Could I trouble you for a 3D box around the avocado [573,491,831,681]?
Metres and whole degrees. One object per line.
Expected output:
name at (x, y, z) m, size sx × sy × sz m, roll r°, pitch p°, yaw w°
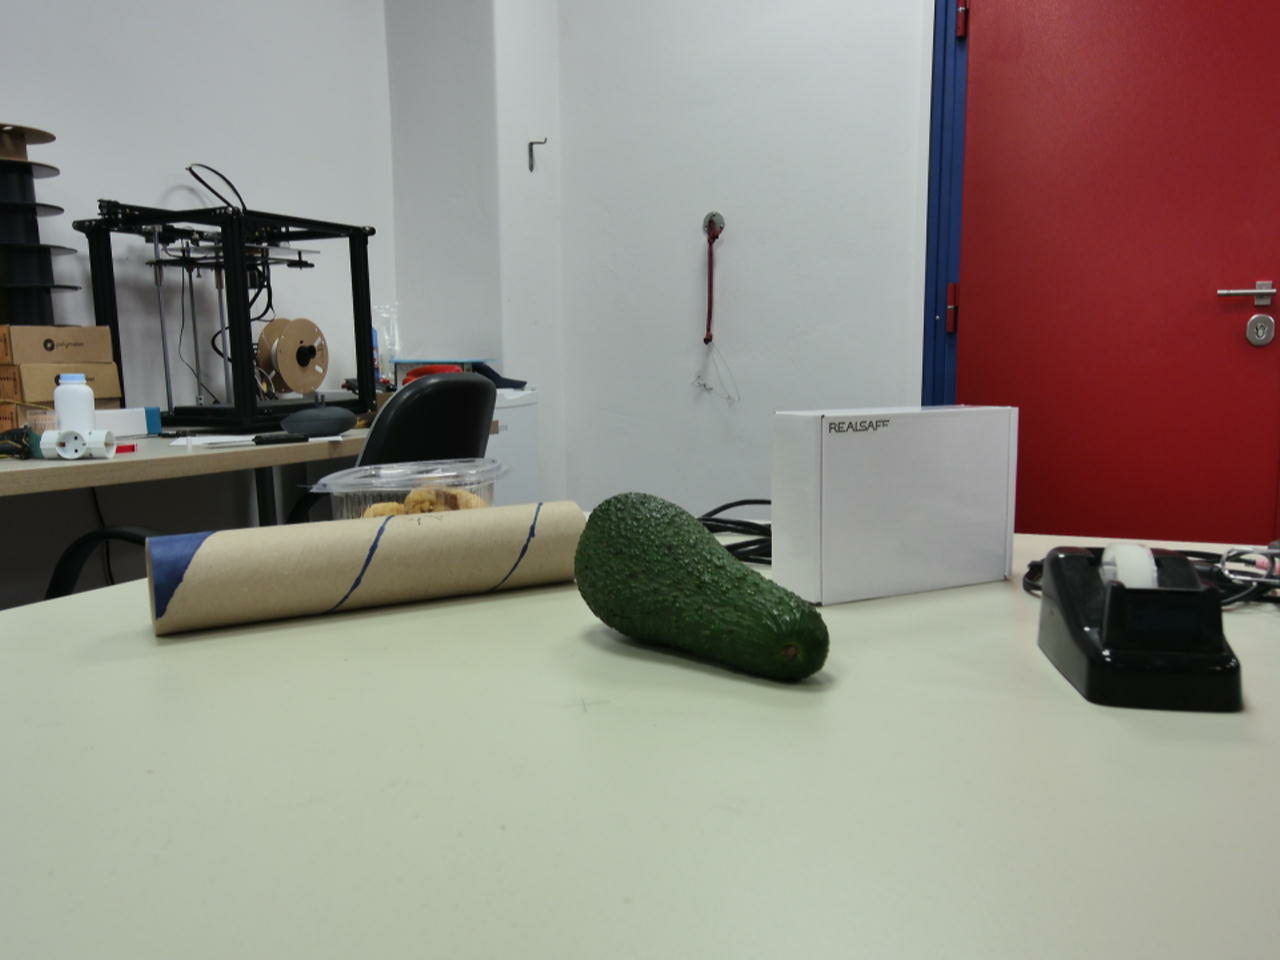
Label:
avocado at (0.027, 0.041, 0.430) m, size 0.141 × 0.067 × 0.063 m, roll 4°, pitch 4°, yaw 40°
